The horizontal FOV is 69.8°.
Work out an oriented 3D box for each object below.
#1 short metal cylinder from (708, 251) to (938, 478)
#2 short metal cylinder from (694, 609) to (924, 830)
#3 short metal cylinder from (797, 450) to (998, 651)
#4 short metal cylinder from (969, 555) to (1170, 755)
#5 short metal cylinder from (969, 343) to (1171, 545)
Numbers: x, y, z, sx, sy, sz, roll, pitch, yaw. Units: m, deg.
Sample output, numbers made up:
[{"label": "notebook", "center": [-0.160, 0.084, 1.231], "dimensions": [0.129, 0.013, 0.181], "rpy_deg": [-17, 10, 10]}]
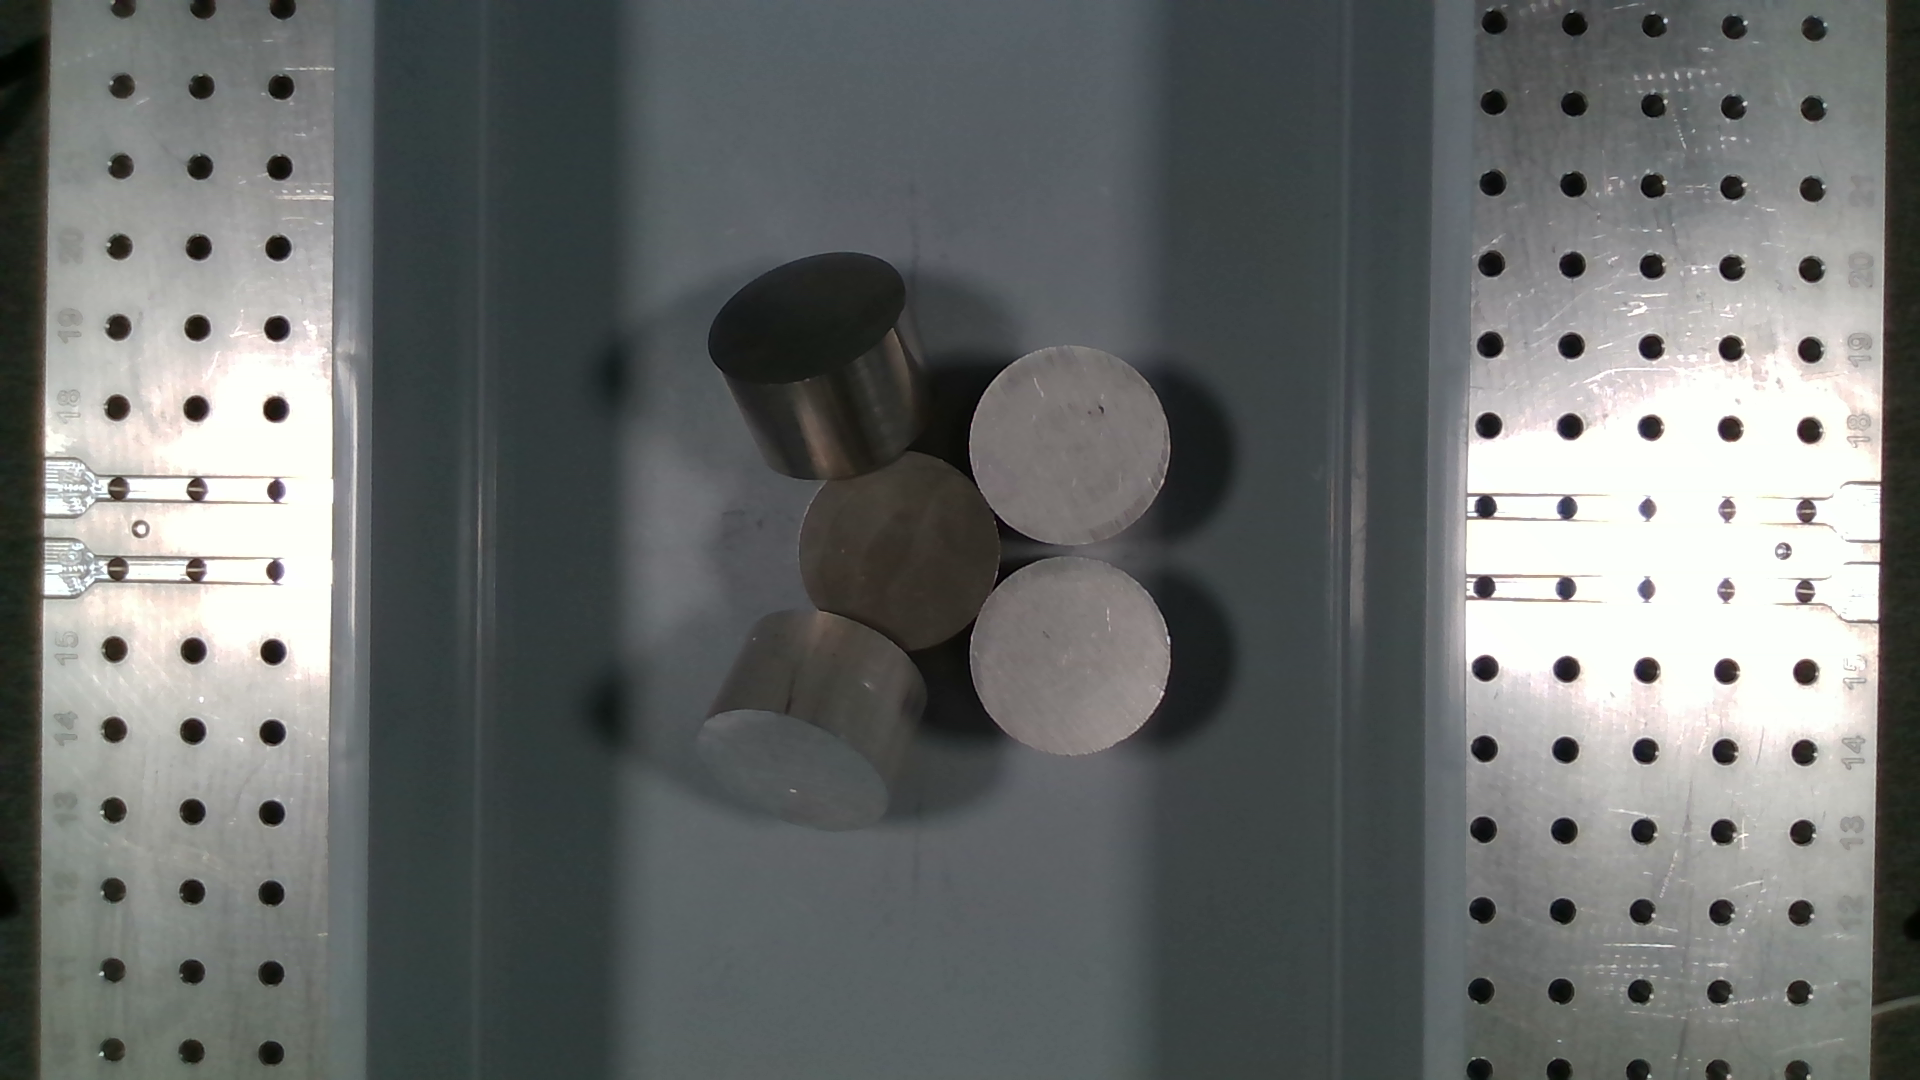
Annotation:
[{"label": "short metal cylinder", "center": [-0.054, -0.071, 0.552], "dimensions": [0.080, 0.080, 0.050], "rpy_deg": [-20, 134, 0]}, {"label": "short metal cylinder", "center": [-0.059, 0.073, 0.553], "dimensions": [0.080, 0.080, 0.050], "rpy_deg": [20, 51, 0]}, {"label": "short metal cylinder", "center": [-0.025, 0.004, 0.572], "dimensions": [0.080, 0.050, 0.080], "rpy_deg": [0, 90, 0]}, {"label": "short metal cylinder", "center": [0.044, 0.046, 0.574], "dimensions": [0.080, 0.050, 0.080], "rpy_deg": [0, 90, 0]}, {"label": "short metal cylinder", "center": [0.044, -0.038, 0.572], "dimensions": [0.080, 0.050, 0.080], "rpy_deg": [0, 90, 0]}]
